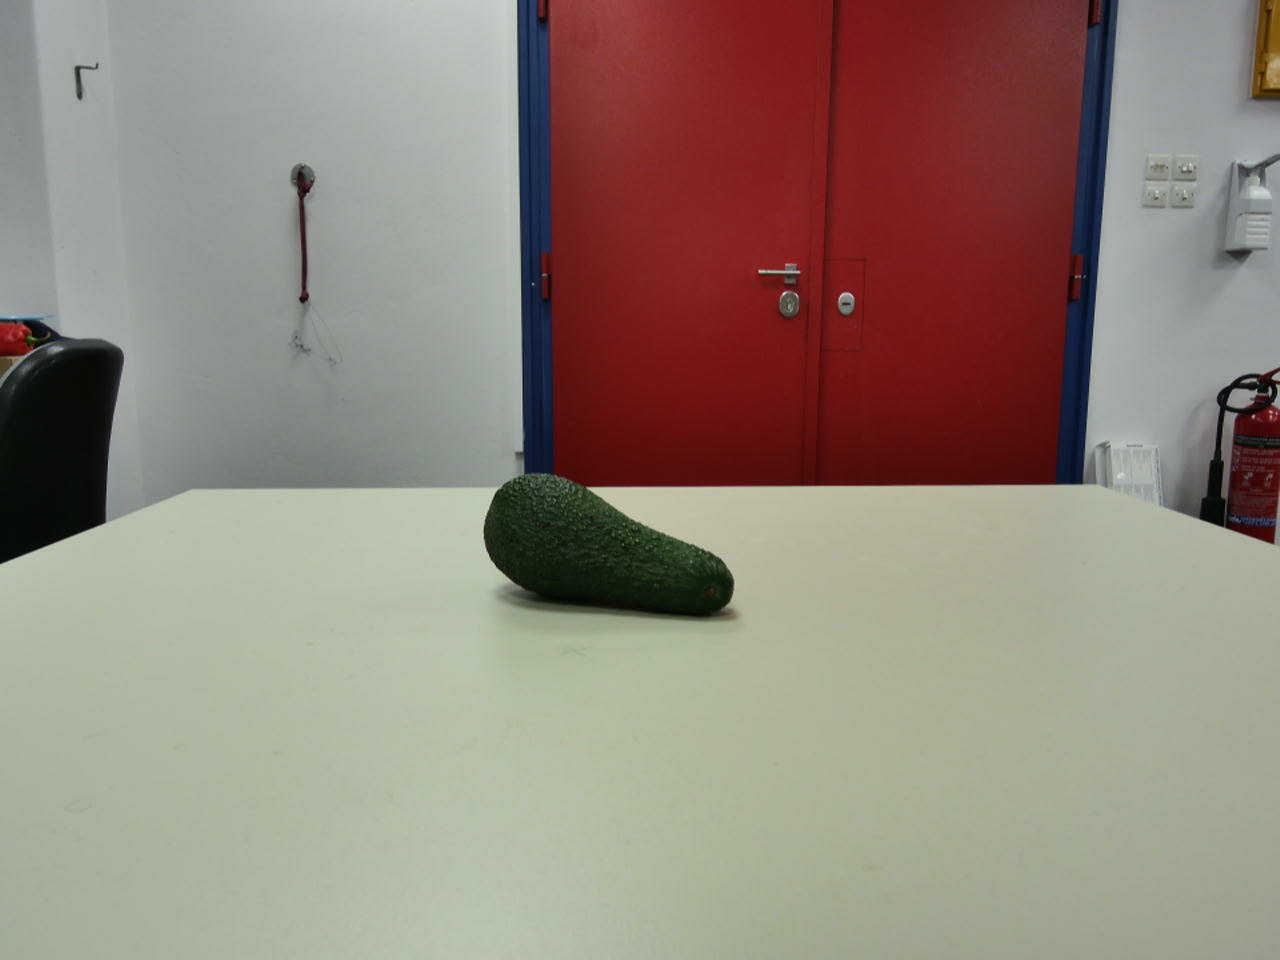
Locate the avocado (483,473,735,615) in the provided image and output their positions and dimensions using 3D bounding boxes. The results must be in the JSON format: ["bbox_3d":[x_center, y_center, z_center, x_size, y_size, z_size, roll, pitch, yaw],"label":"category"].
[{"bbox_3d":[-0.017,0.031,0.521,0.141,0.067,0.063,2,6,14],"label":"avocado"}]
